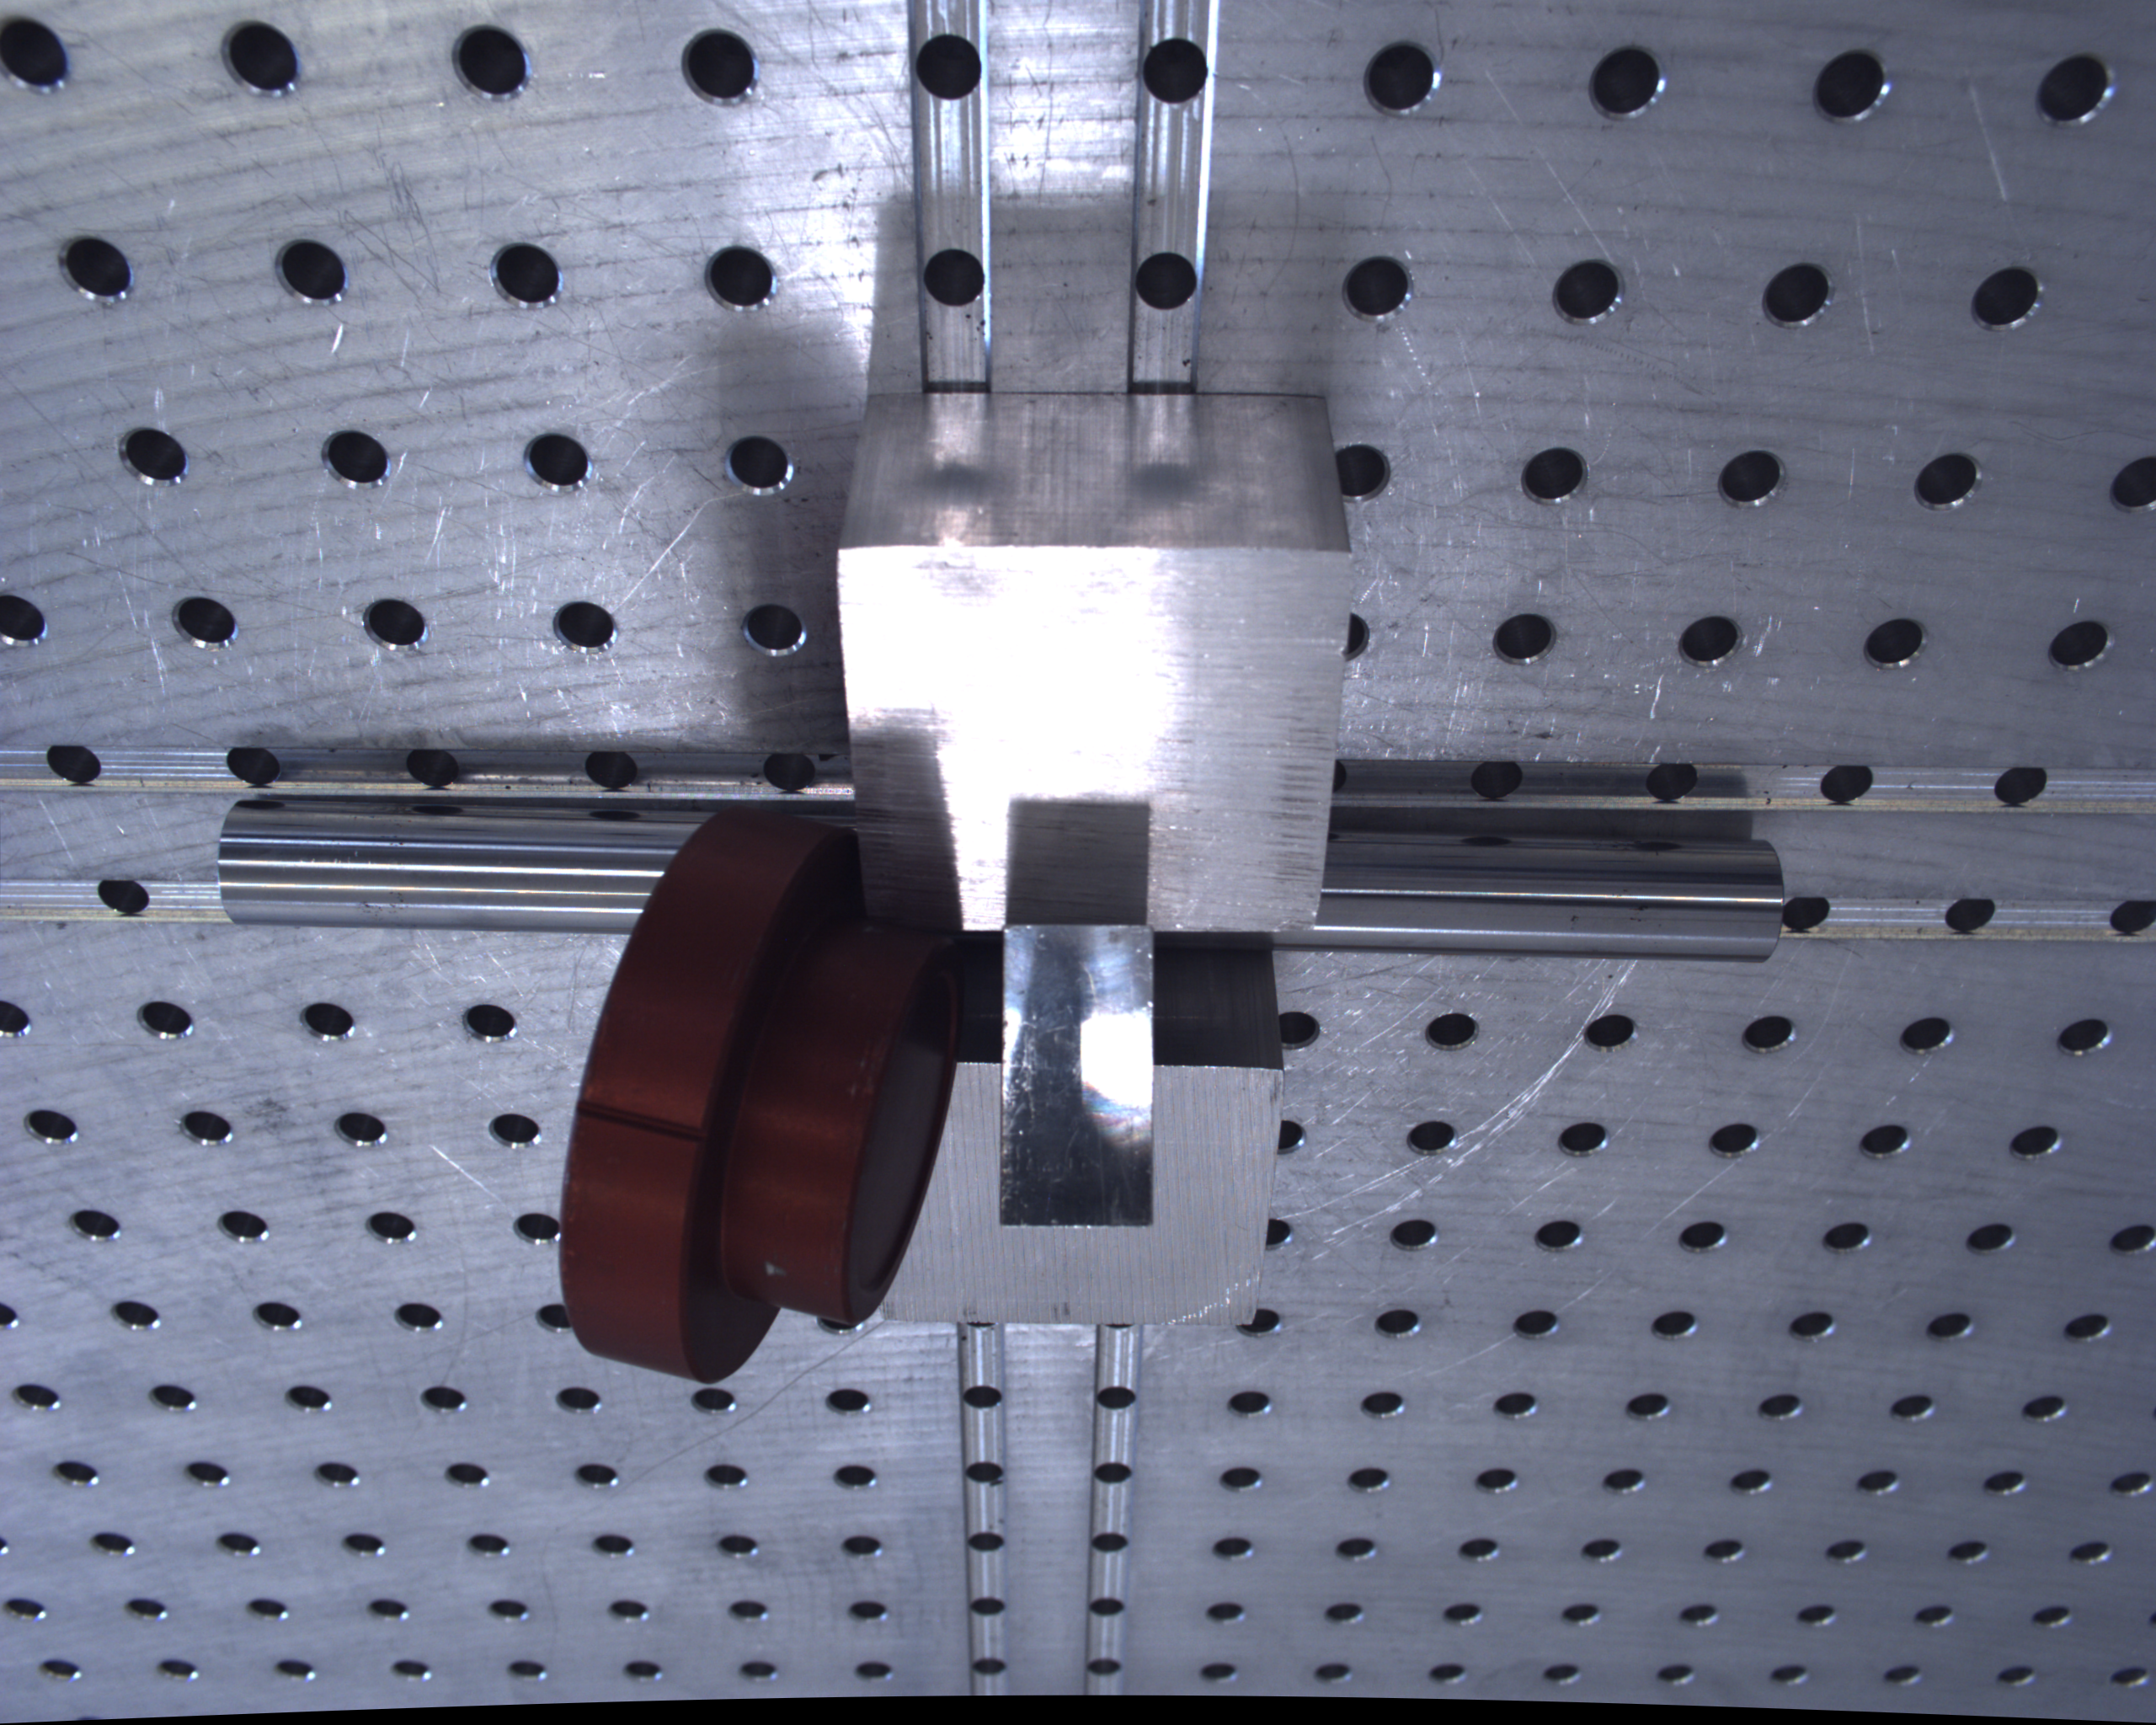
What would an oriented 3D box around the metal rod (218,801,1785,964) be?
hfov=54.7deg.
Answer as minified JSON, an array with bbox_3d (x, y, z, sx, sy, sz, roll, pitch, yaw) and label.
[{"bbox_3d":[-0.013,0.004,0.415,0.302,0.025,0.025,1,130,-2],"label":"metal rod"}]

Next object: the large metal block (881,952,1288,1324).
[{"bbox_3d":[-0.001,0.052,0.440,0.081,0.050,0.079,1,130,-1],"label":"large metal block"}]

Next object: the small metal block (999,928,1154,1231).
[{"bbox_3d":[0.000,0.037,0.369,0.025,0.050,0.050,1,86,-1],"label":"small metal block"}]

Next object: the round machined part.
[{"bbox_3d":[-0.049,0.042,0.361,0.042,0.098,0.097,13,131,8],"label":"round machined part"}]

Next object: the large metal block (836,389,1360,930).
[{"bbox_3d":[0.003,-0.035,0.366,0.081,0.050,0.079,0,130,-1],"label":"large metal block"}]
